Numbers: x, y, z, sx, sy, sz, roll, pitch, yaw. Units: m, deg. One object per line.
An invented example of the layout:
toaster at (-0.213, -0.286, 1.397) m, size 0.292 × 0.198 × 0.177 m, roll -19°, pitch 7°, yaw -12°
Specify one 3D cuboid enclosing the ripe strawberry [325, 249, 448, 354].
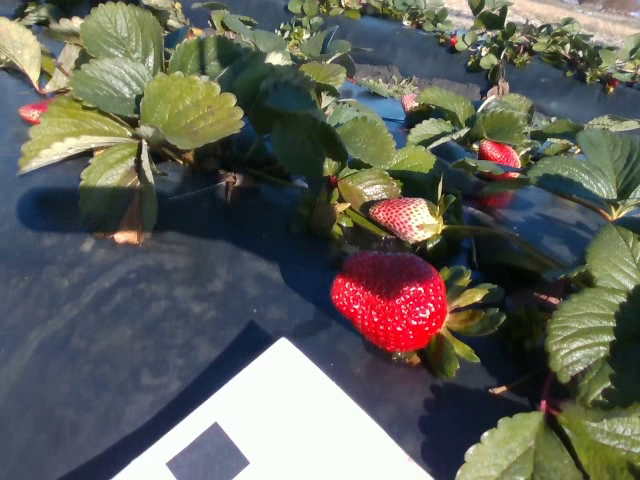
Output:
ripe strawberry at (0.029, 0.025, 0.277) m, size 0.058 × 0.066 × 0.061 m, roll -26°, pitch -45°, yaw 31°
